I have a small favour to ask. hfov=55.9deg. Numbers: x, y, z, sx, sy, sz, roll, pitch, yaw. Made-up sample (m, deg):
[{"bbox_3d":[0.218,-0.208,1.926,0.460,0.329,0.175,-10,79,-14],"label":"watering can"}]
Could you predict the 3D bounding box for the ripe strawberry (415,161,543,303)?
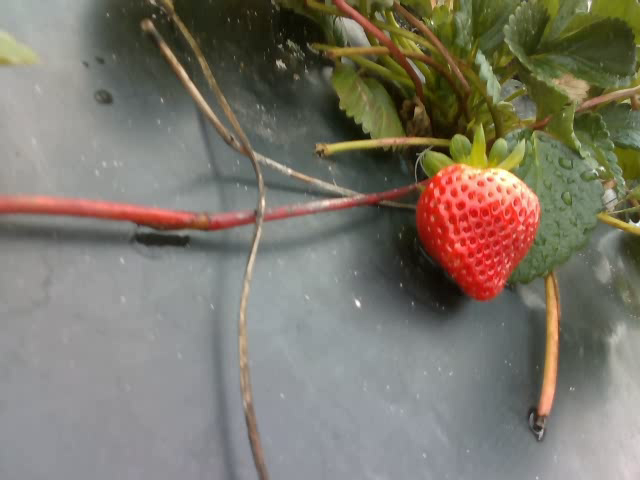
[{"bbox_3d":[0.067,-0.003,0.237,0.049,0.065,0.061,-1,-8,36],"label":"ripe strawberry"}]
